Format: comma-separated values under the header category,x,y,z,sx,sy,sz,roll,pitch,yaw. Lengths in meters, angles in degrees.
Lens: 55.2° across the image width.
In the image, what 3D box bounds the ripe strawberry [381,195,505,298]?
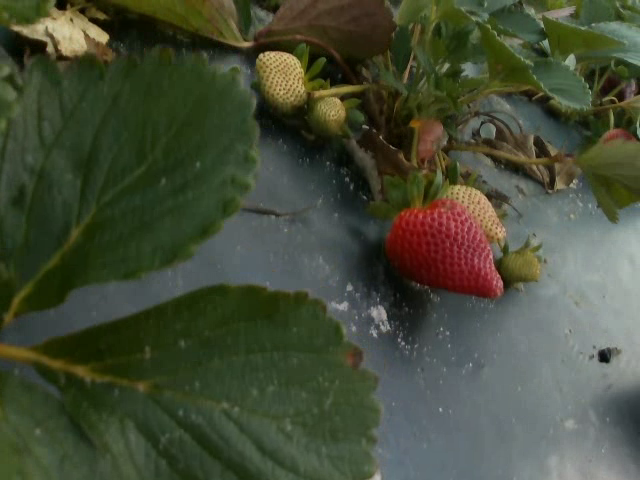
category,x,y,z,sx,sy,sz,roll,pitch,yaw
ripe strawberry,0.056,0.004,0.253,0.050,0.034,0.059,-4,40,-44
